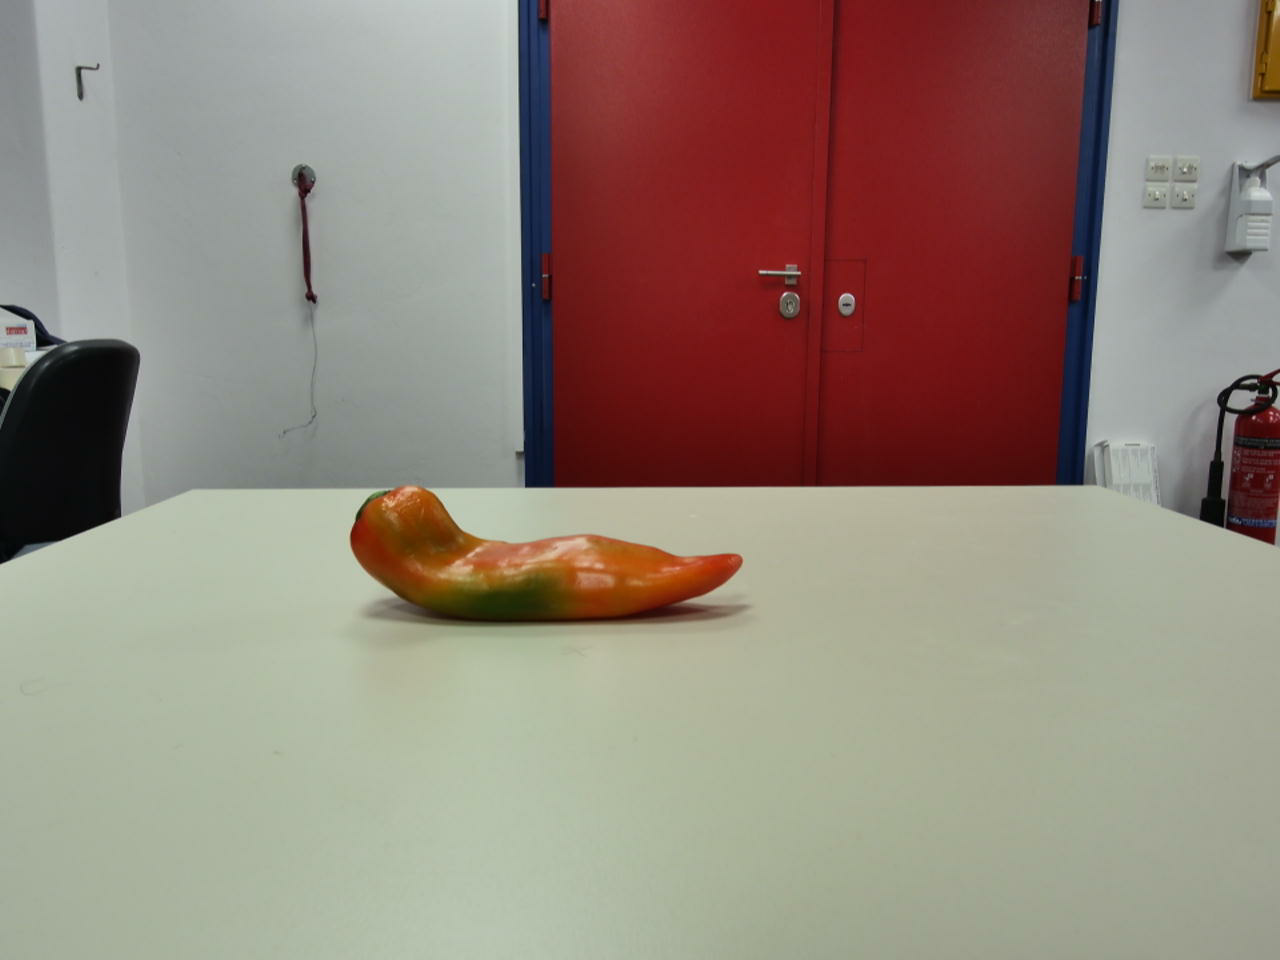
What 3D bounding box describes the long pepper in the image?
[{"bbox_3d":[-0.047,0.035,0.507,0.199,0.065,0.066,0,6,4],"label":"long pepper"}]
